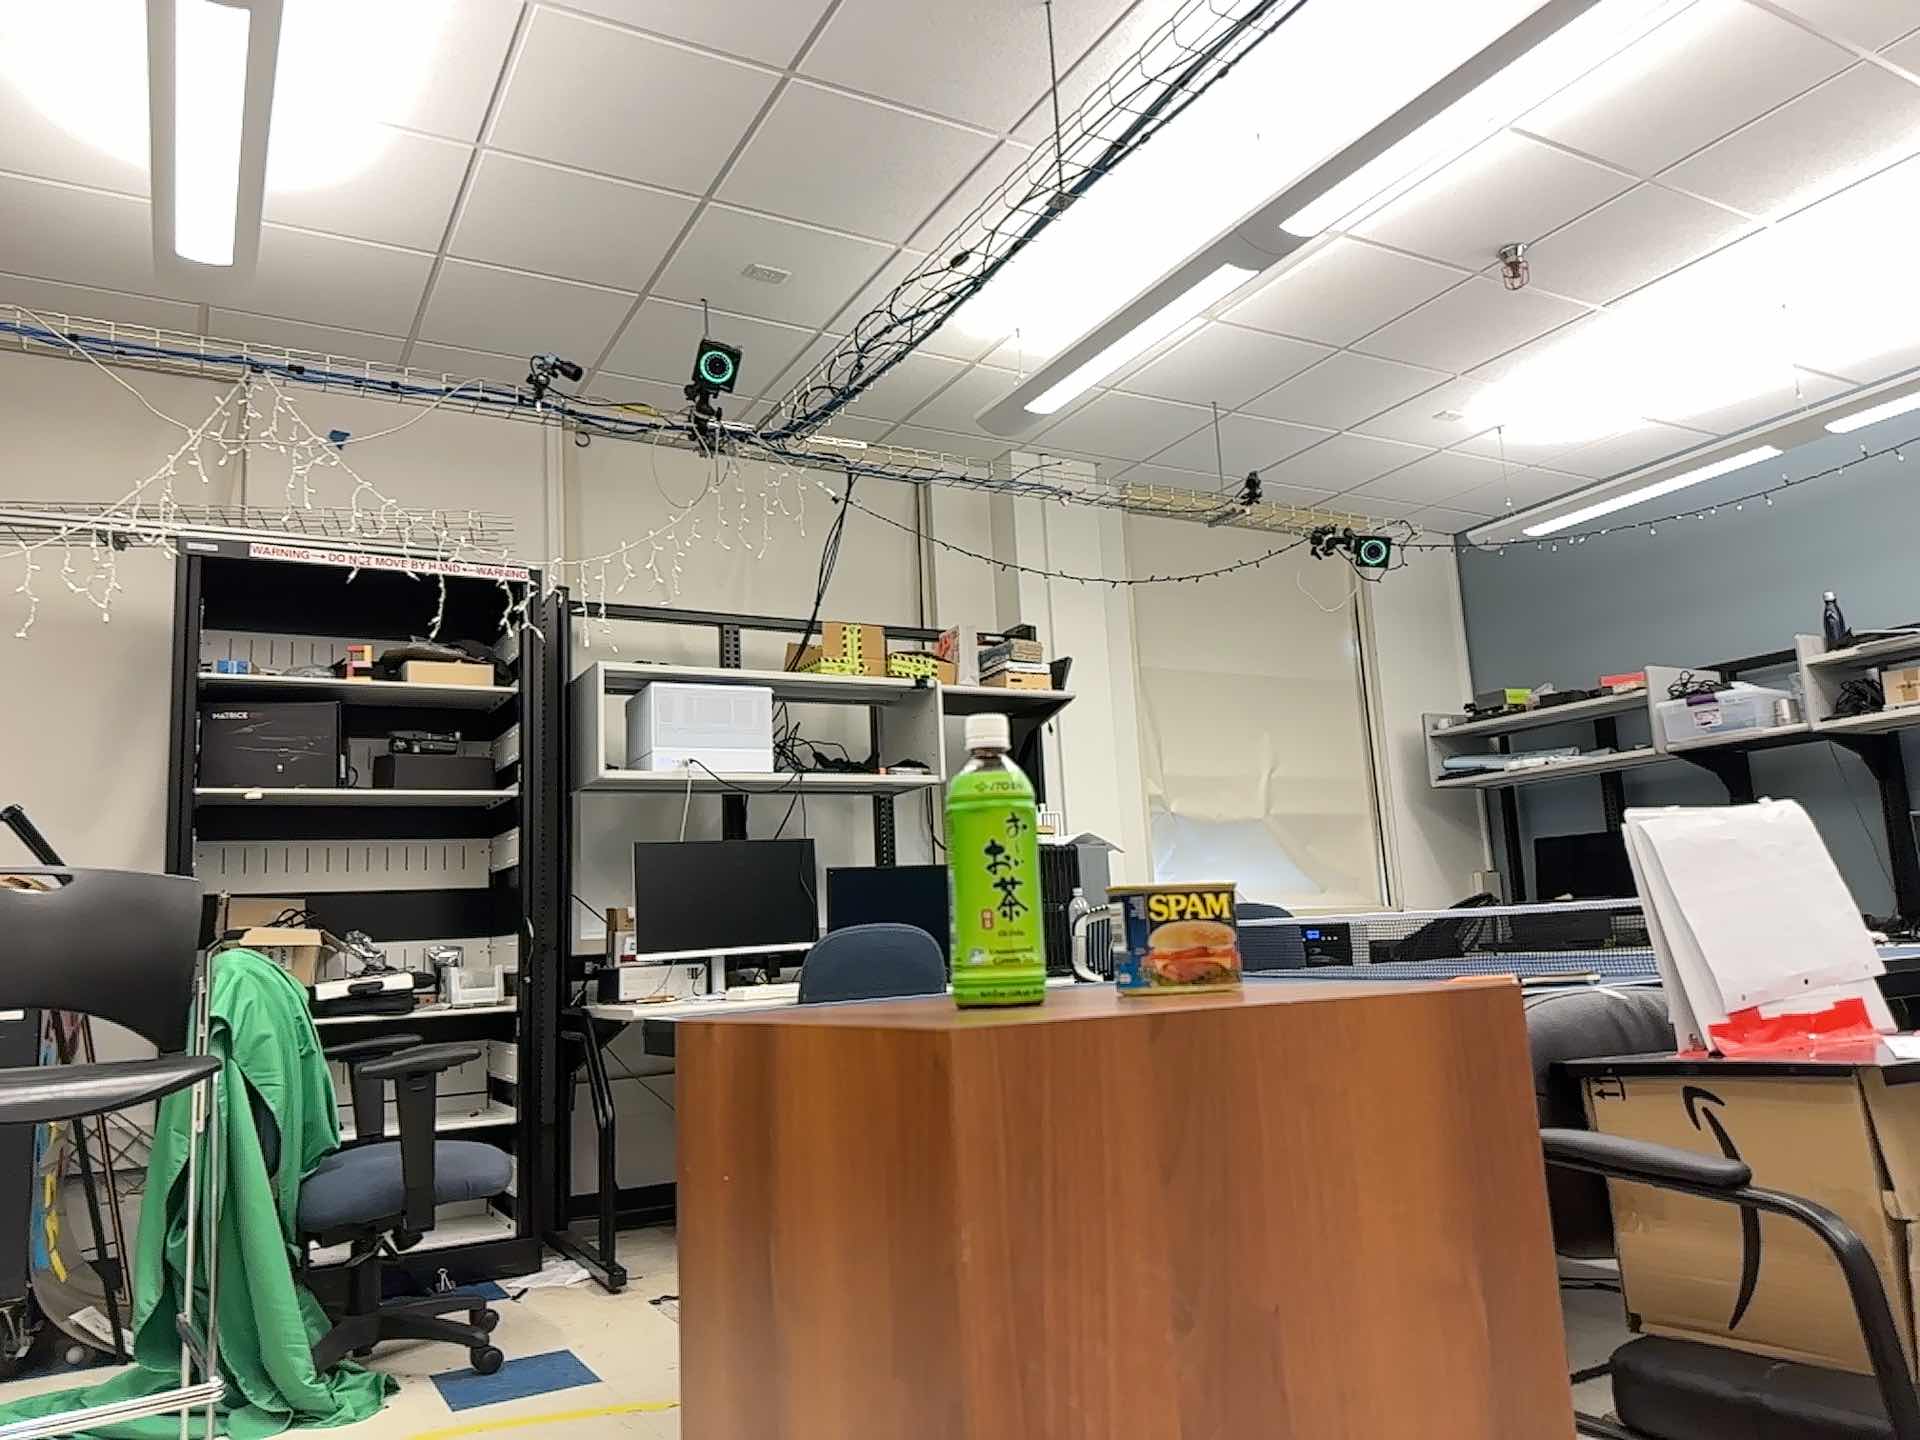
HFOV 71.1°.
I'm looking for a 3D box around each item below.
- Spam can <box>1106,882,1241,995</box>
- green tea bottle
[{"bbox_3d":[0.172,0.175,1.075,0.100,0.083,0.056,2,-11,-20],"label":"Spam can"},{"bbox_3d":[0.024,0.099,0.986,0.073,0.212,0.073,-4,-10,-1],"label":"green tea bottle"}]
